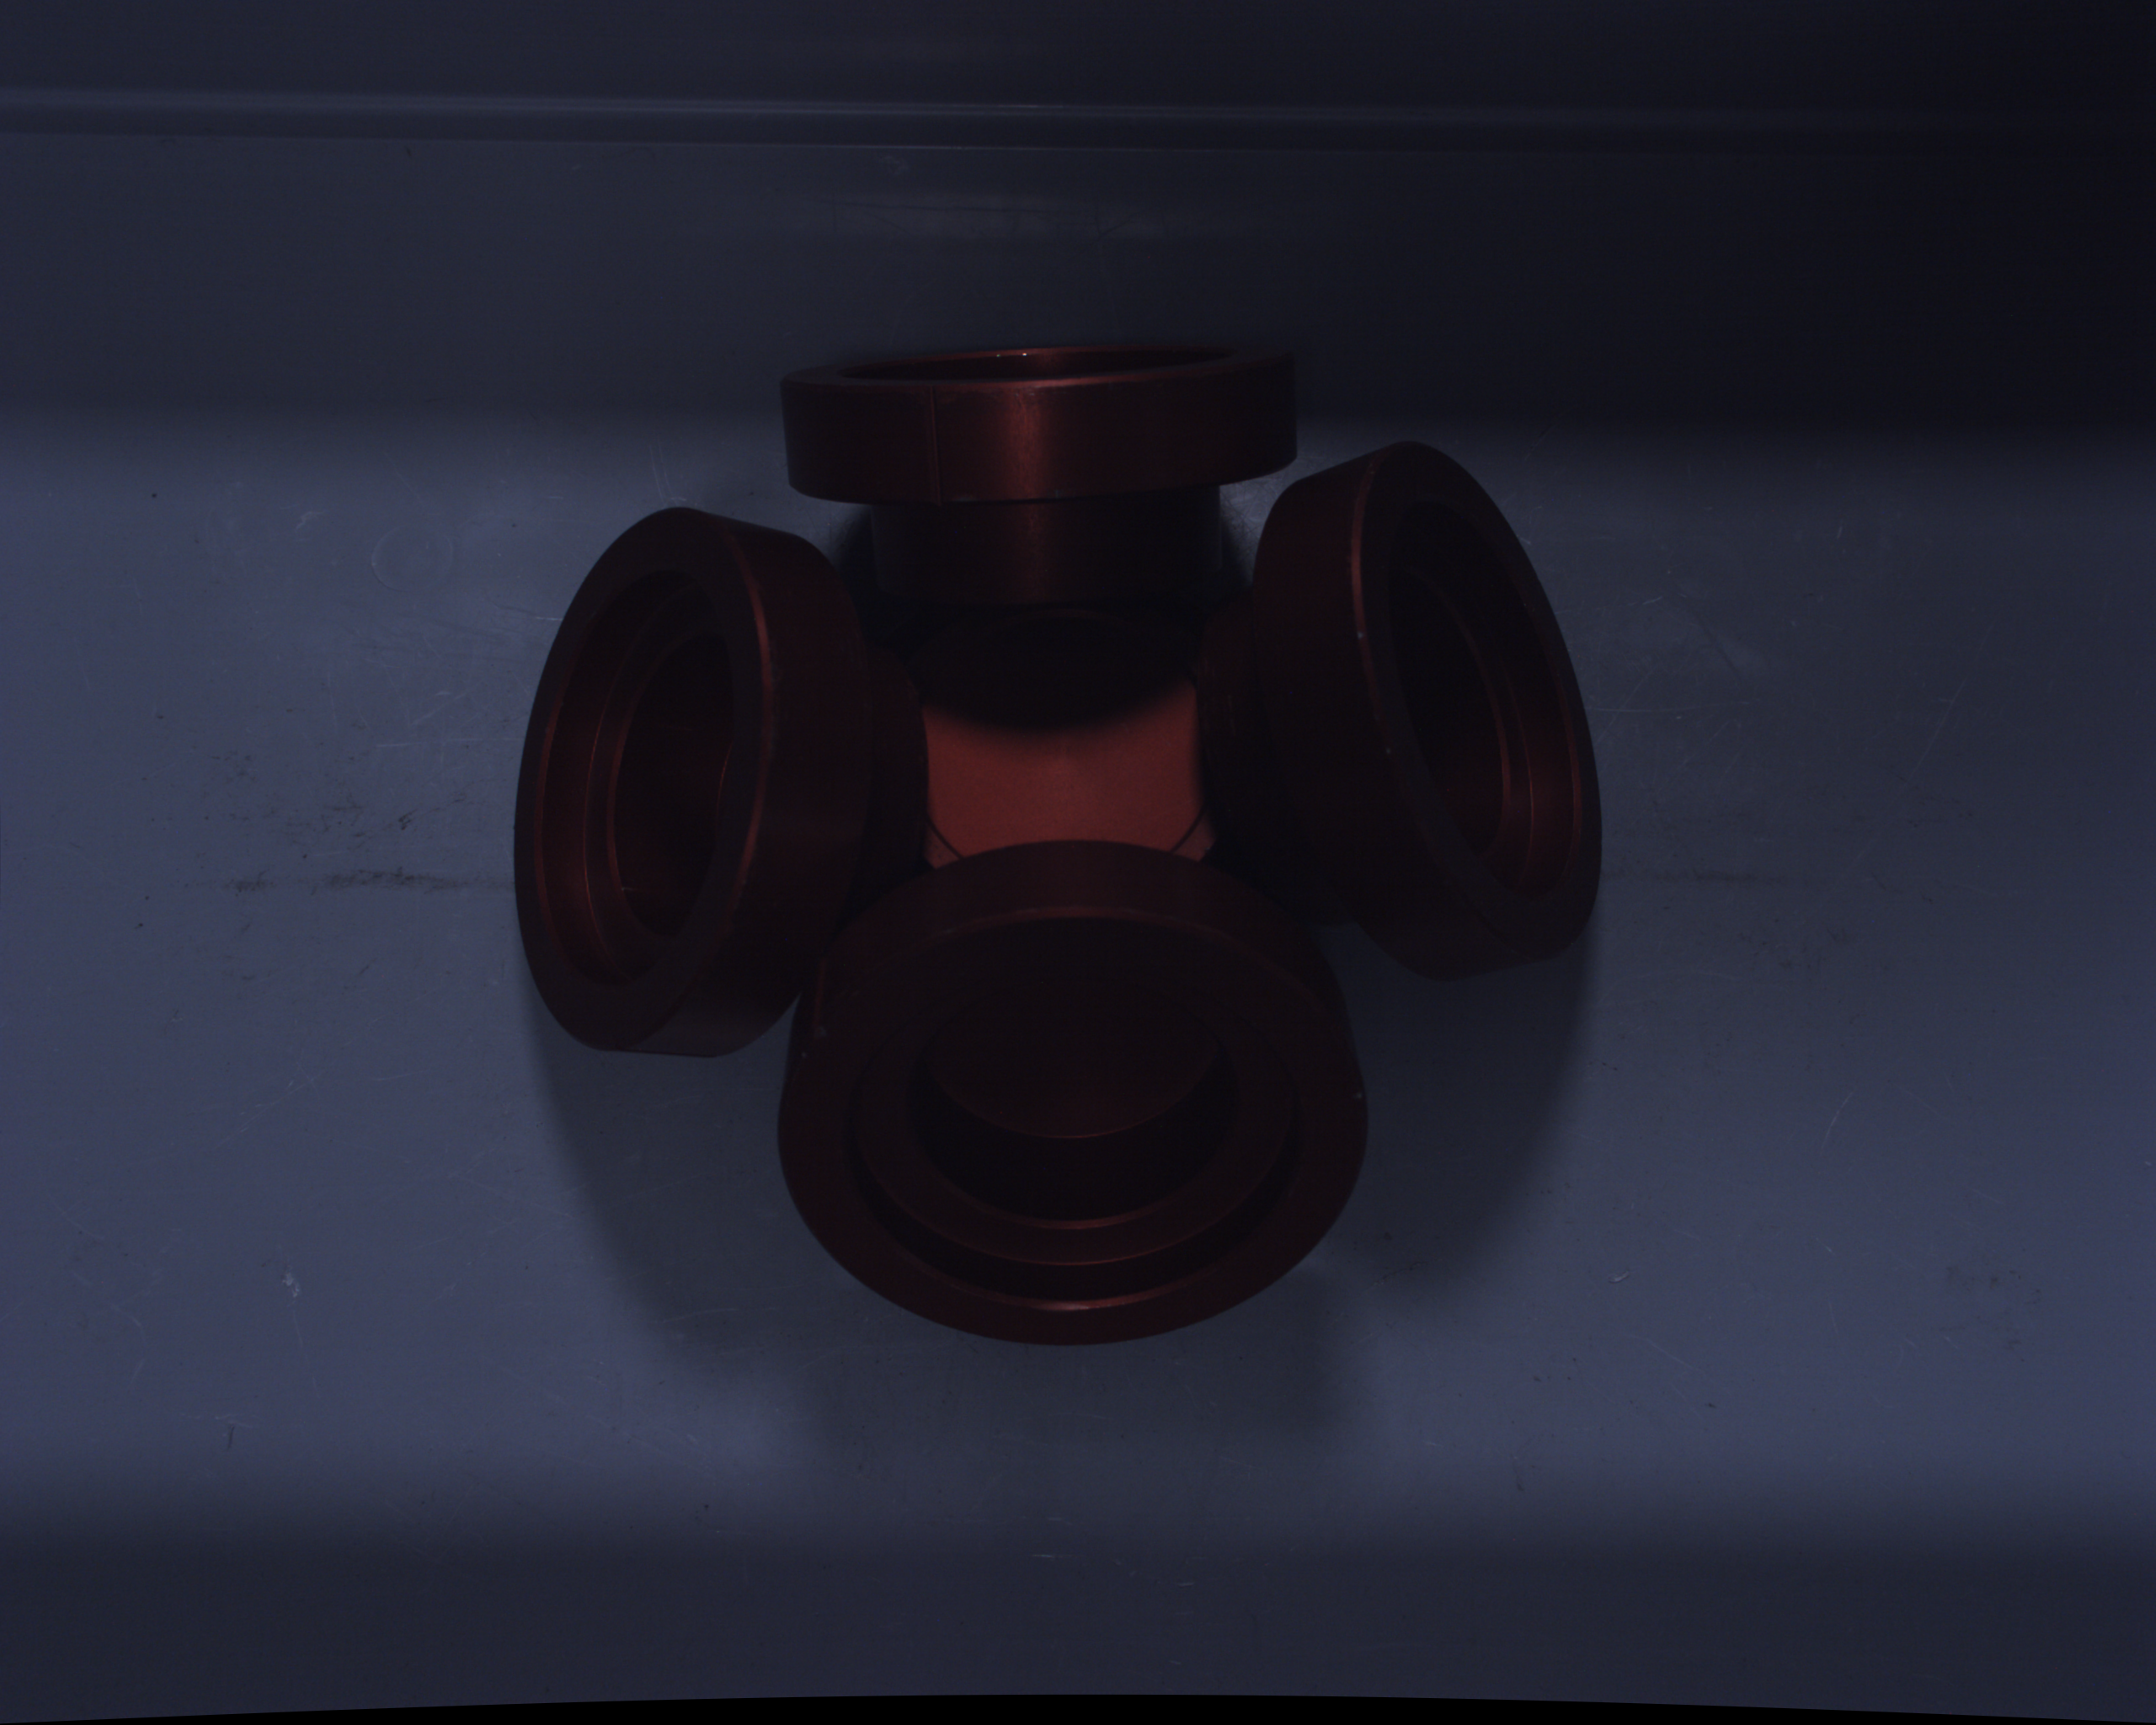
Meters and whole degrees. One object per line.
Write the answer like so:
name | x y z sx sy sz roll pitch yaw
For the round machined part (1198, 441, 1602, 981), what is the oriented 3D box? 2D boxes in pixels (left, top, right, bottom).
round machined part | 0.058 -0.025 0.390 0.042 0.098 0.098 -16 66 32

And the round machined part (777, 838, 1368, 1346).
round machined part | -0.001 0.036 0.366 0.099 0.097 0.042 -1 34 -1

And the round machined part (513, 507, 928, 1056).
round machined part | -0.064 -0.013 0.383 0.042 0.098 0.098 9 65 -37

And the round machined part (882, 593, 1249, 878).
round machined part | -0.003 -0.014 0.403 0.099 0.042 0.098 0 70 -1

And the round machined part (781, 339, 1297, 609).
round machined part | -0.007 -0.077 0.407 0.099 0.098 0.042 -3 108 -2
